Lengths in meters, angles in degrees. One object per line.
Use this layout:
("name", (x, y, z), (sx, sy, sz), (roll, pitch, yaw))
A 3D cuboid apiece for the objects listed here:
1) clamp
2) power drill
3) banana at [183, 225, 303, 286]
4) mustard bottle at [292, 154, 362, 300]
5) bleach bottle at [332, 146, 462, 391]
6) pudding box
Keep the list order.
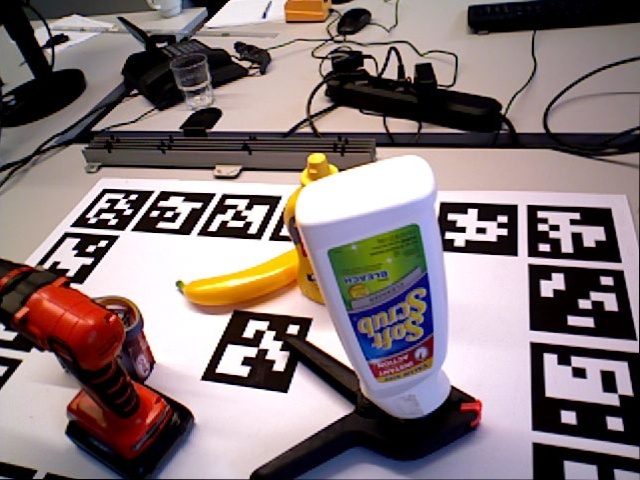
("clamp", (0.062, 0.129, 0.510), (0.203, 0.037, 0.162), (-1, 44, 10))
("power drill", (-0.212, 0.093, 0.477), (0.186, 0.190, 0.056), (11, 38, 27))
("banana", (-0.075, 0.016, 0.684), (0.195, 0.039, 0.074), (-24, 25, -13))
("mustard bottle", (0.018, -0.020, 0.600), (0.096, 0.195, 0.057), (14, 46, 24))
("bleach bottle", (0.085, 0.040, 0.442), (0.103, 0.254, 0.067), (-14, 36, 6))
("pudding box", (-0.240, 0.094, 0.603), (0.114, 0.092, 0.038), (6, 37, 18))
